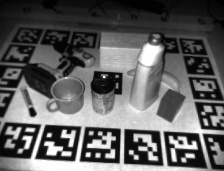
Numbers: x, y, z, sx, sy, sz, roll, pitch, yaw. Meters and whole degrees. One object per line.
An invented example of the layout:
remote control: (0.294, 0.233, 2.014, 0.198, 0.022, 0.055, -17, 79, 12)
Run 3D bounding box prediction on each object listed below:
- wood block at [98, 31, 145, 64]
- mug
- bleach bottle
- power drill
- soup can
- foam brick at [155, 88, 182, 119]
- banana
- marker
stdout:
wood block: (0.056, -0.140, 0.791, 0.206, 0.091, 0.089, 2, 51, -2)
mug: (-0.142, 0.023, 0.641, 0.118, 0.082, 0.092, -37, 63, -26)
bleach bottle: (0.095, -0.045, 0.606, 0.067, 0.252, 0.103, 26, 52, 19)
power drill: (-0.183, -0.078, 0.749, 0.183, 0.057, 0.188, 28, 52, 15)
soup can: (-0.033, 0.016, 0.635, 0.068, 0.102, 0.067, 3, 46, -2)
foam brick: (0.169, 0.052, 0.646, 0.052, 0.078, 0.052, 29, 52, 23)
banana: (0.132, -0.054, 0.753, 0.196, 0.039, 0.074, 17, 64, 7)
marker: (-0.258, 0.041, 0.663, 0.020, 0.020, 0.120, -22, 55, -17)
